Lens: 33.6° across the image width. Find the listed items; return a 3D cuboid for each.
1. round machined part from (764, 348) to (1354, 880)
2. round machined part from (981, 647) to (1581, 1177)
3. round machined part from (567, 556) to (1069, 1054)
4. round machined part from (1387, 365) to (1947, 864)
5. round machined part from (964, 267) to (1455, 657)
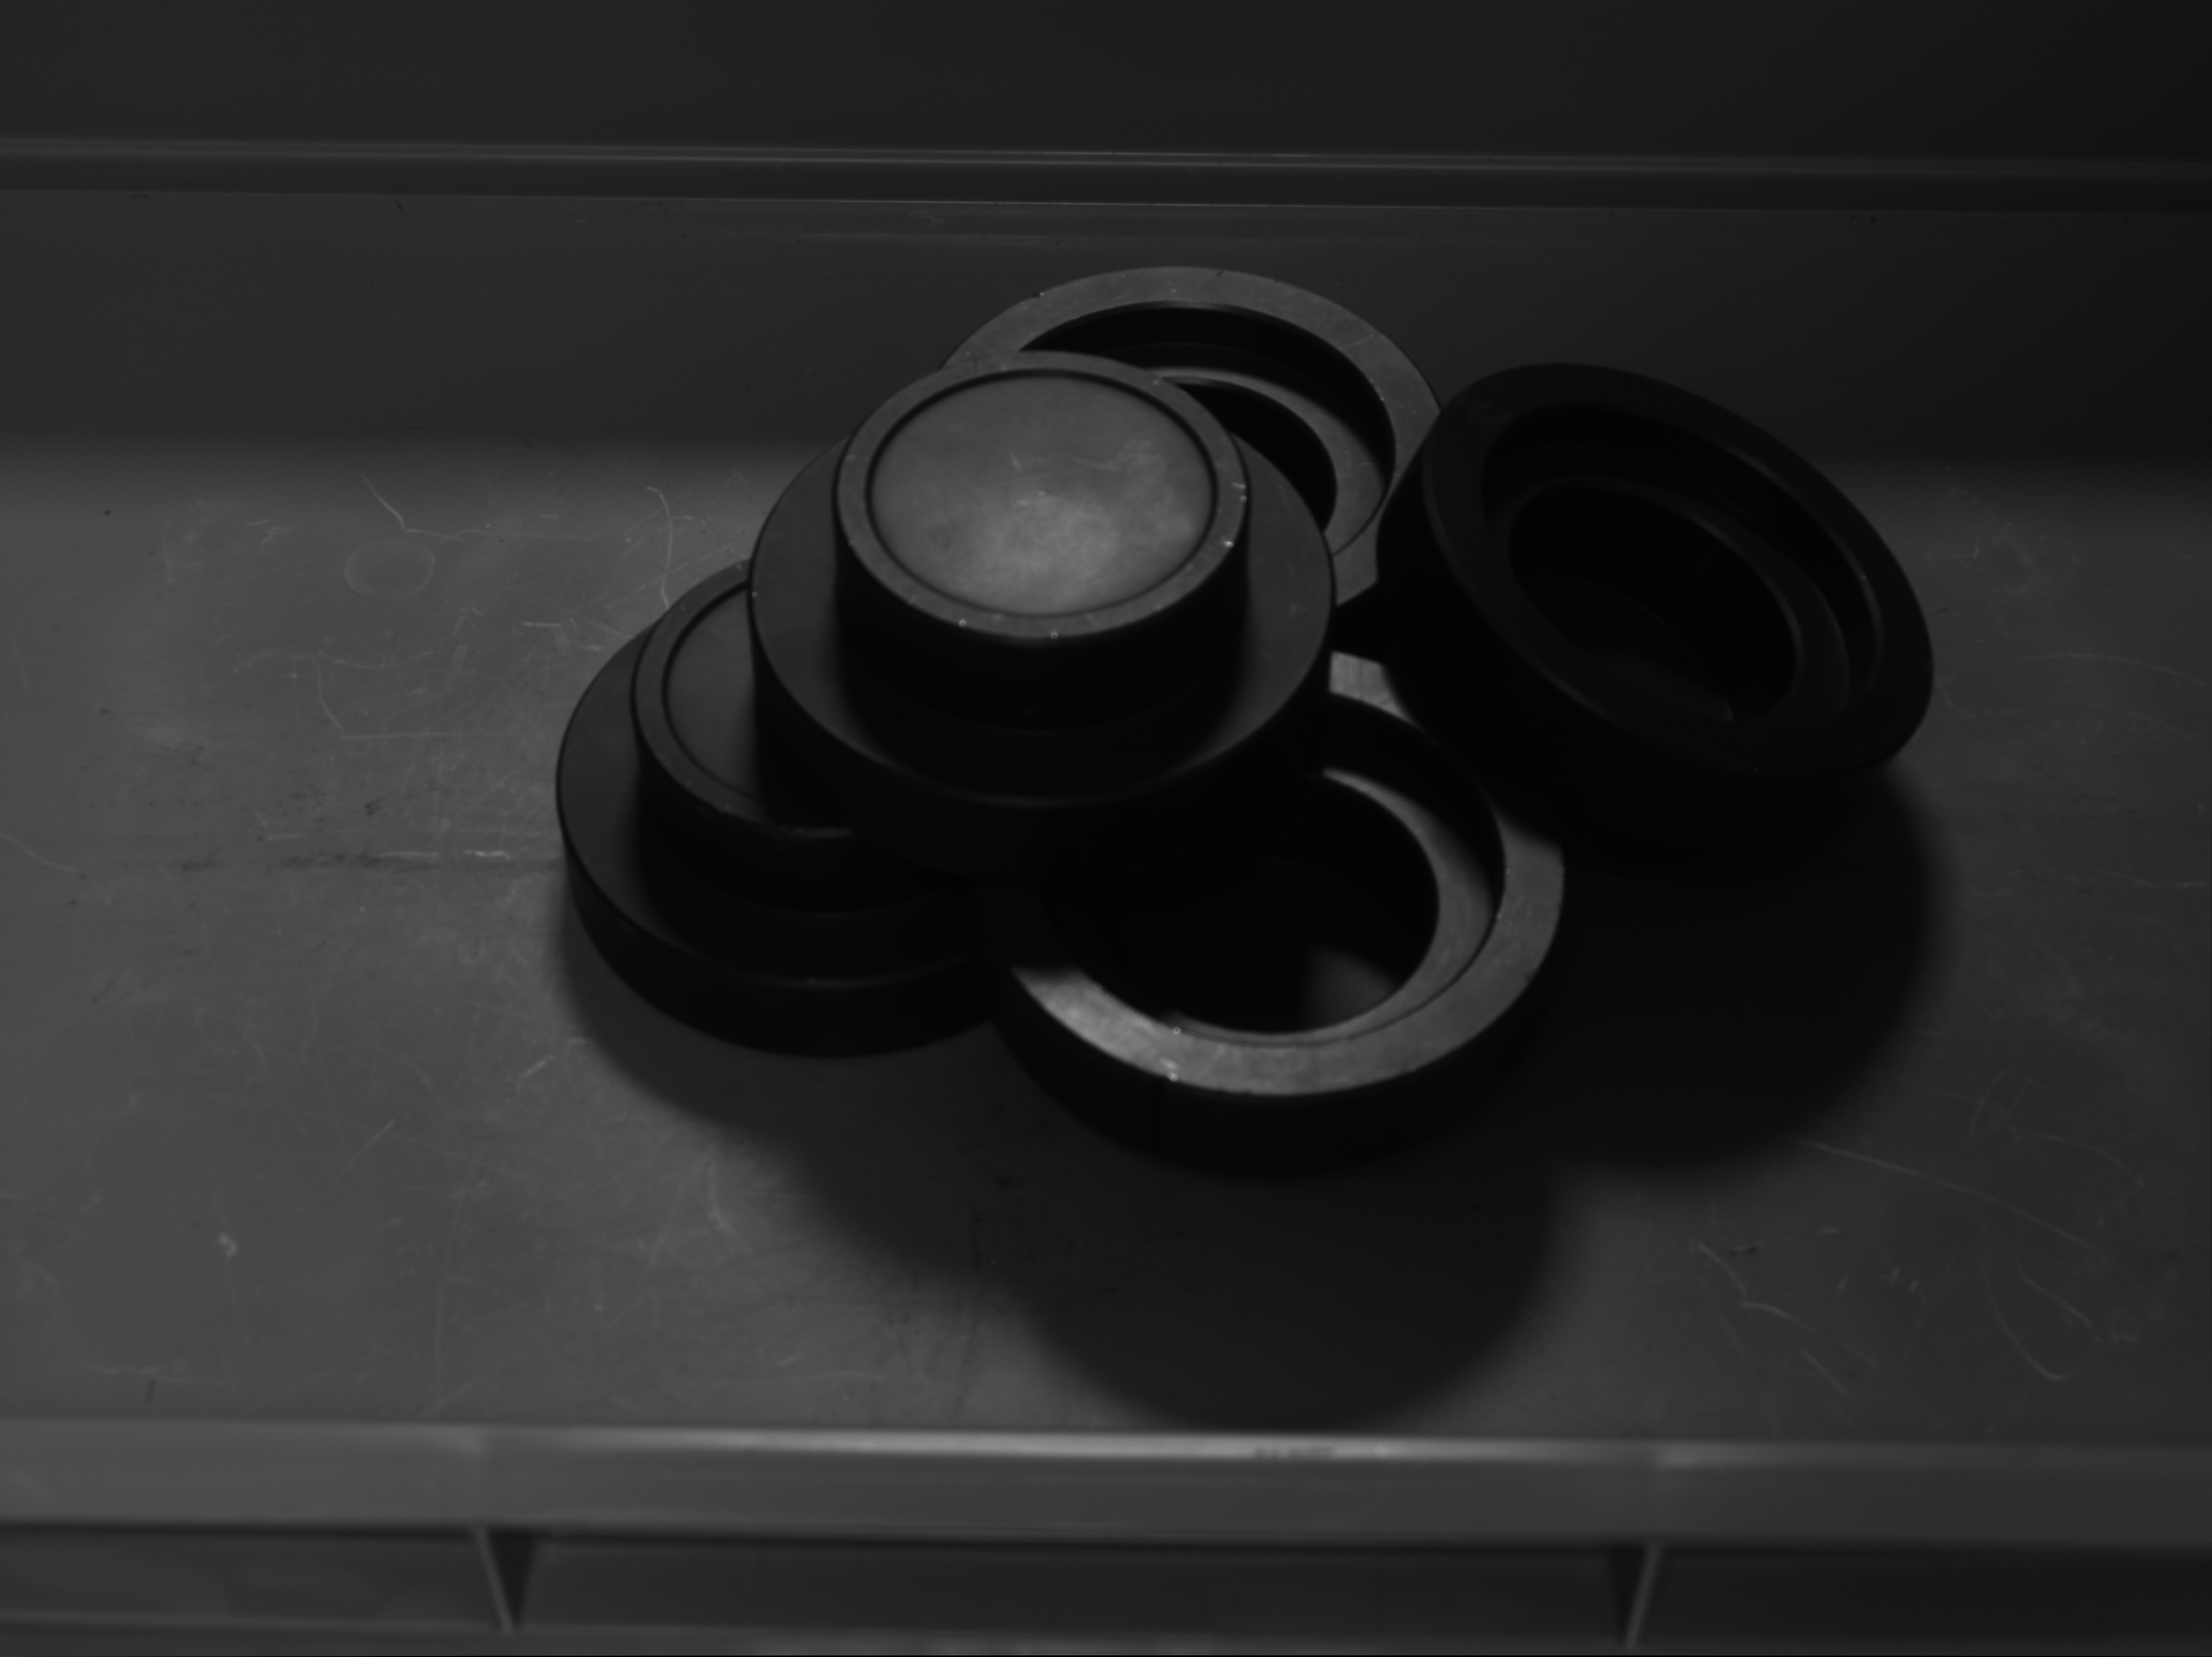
[{"bbox_3d":[-0.008,-0.042,0.608,0.098,0.042,0.098,0,50,0],"label":"round machined part"},{"bbox_3d":[0.029,0.019,0.613,0.098,0.042,0.098,0,50,0],"label":"round machined part"},{"bbox_3d":[-0.045,-0.012,0.637,0.098,0.042,0.098,0,50,0],"label":"round machined part"},{"bbox_3d":[0.094,-0.033,0.643,0.098,0.042,0.098,14,45,-15],"label":"round machined part"},{"bbox_3d":[0.016,-0.056,0.677,0.098,0.042,0.098,0,50,0],"label":"round machined part"}]
